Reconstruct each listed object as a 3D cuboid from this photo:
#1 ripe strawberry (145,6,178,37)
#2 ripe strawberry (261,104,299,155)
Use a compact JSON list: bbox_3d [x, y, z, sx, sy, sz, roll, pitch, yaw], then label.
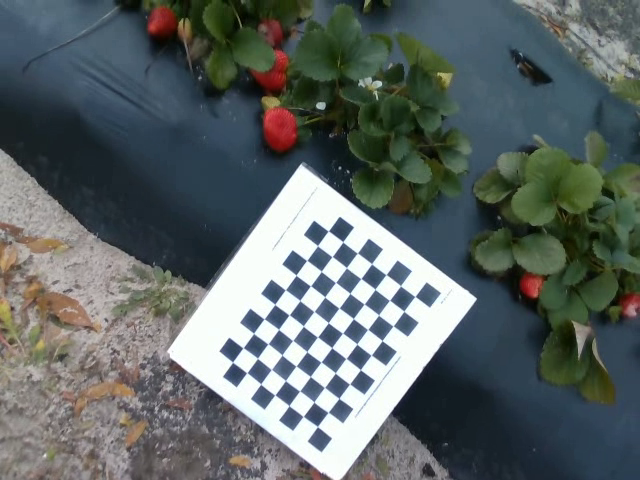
[{"bbox_3d":[-0.202,-0.274,0.636,0.043,0.052,0.041,18,-40,4],"label":"ripe strawberry"},{"bbox_3d":[-0.054,-0.140,0.634,0.057,0.056,0.064,-1,7,19],"label":"ripe strawberry"}]
